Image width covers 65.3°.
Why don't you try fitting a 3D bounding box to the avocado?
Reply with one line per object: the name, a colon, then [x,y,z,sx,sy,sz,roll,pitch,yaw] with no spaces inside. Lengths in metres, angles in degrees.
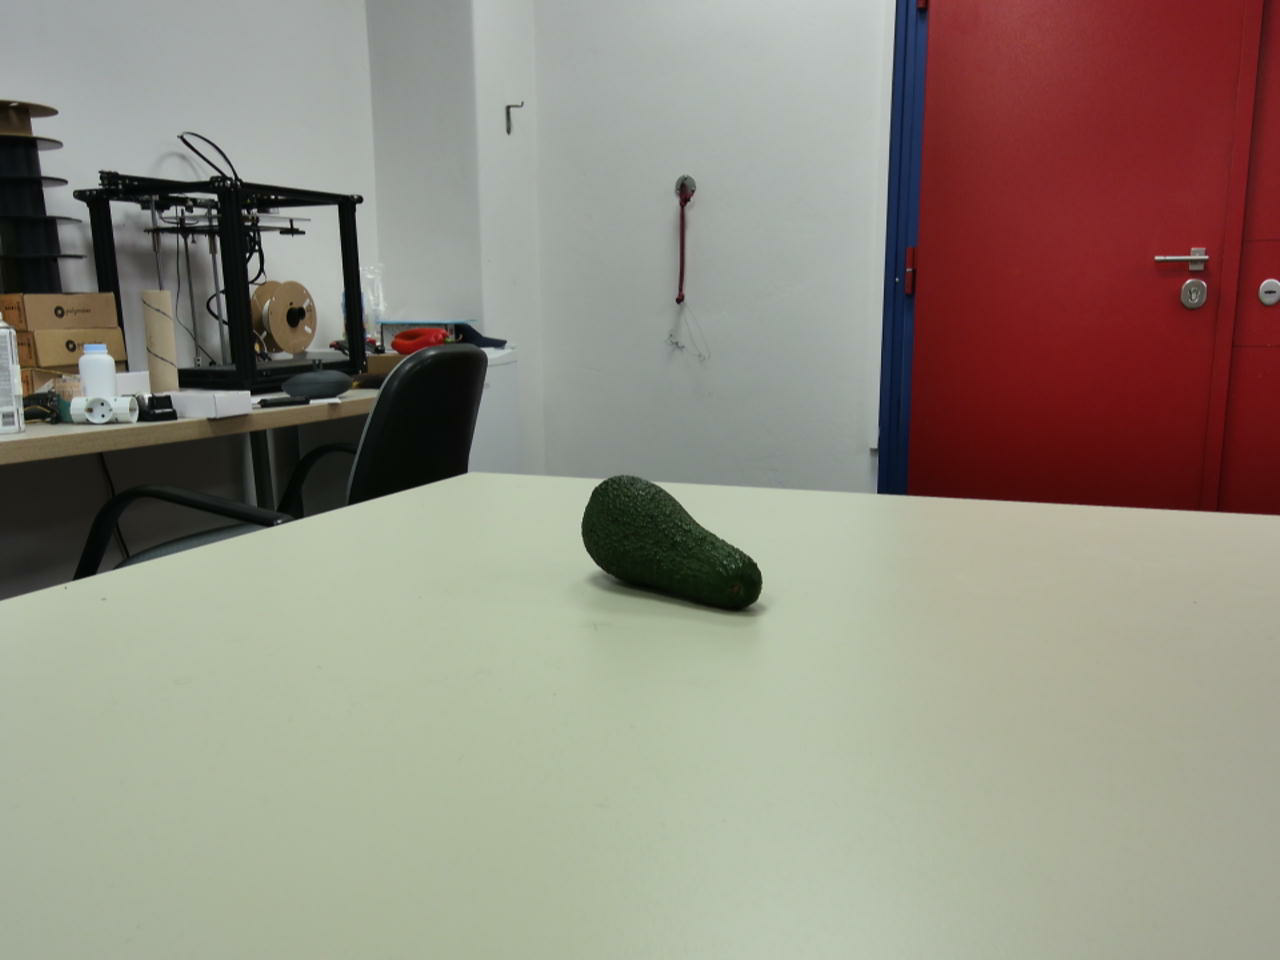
avocado: [0.021,0.033,0.598,0.141,0.067,0.063,6,9,38]
